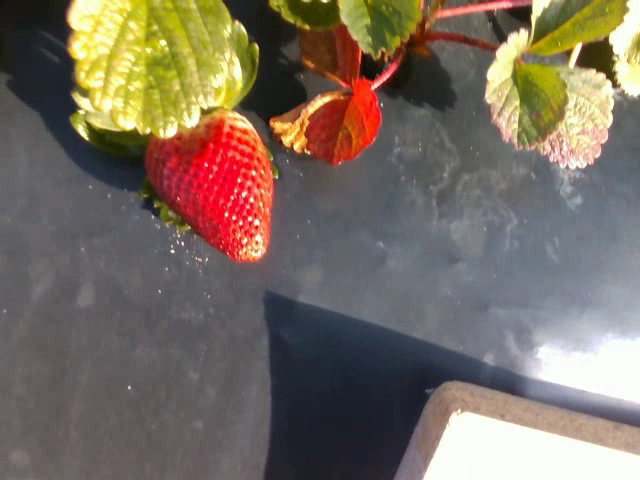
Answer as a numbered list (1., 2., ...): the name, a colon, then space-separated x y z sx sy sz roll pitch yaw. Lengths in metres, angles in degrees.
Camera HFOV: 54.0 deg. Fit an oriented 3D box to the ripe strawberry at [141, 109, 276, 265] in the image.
1. ripe strawberry: -0.031 -0.014 0.181 0.040 0.056 0.040 -32 -25 9
